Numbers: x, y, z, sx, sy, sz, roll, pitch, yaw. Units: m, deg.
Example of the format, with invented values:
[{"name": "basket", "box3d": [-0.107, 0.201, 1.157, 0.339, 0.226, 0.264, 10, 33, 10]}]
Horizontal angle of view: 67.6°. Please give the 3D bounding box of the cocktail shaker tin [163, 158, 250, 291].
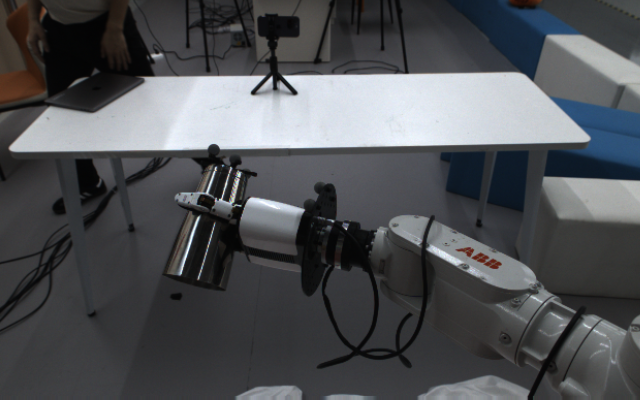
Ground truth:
[{"name": "cocktail shaker tin", "box3d": [-0.158, 0.039, 0.704, 0.093, 0.093, 0.170, 9, 71, 10]}]
